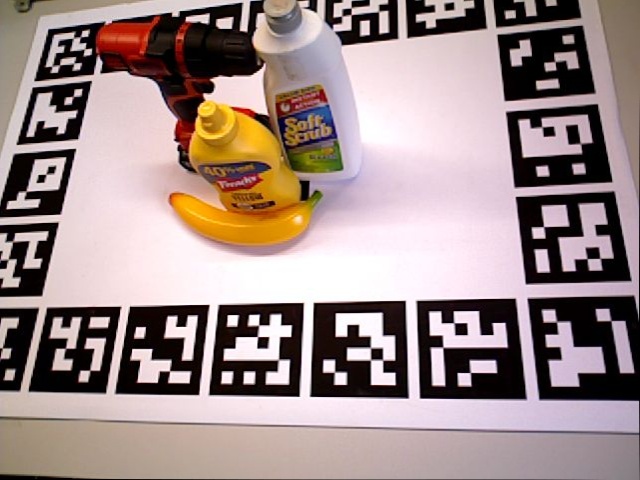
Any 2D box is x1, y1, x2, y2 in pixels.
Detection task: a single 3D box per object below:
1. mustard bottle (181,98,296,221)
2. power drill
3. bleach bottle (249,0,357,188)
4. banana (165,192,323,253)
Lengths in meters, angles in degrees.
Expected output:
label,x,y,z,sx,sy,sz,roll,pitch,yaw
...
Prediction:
label,x,y,z,sx,sy,sz,roll,pitch,yaw
mustard bottle,-0.089,-0.082,0.564,0.096,0.193,0.058,-1,68,10
power drill,-0.130,-0.155,0.578,0.185,0.189,0.057,10,69,14
bleach bottle,-0.022,-0.148,0.548,0.103,0.253,0.067,1,63,12
banana,-0.096,-0.022,0.637,0.198,0.039,0.073,2,71,15
